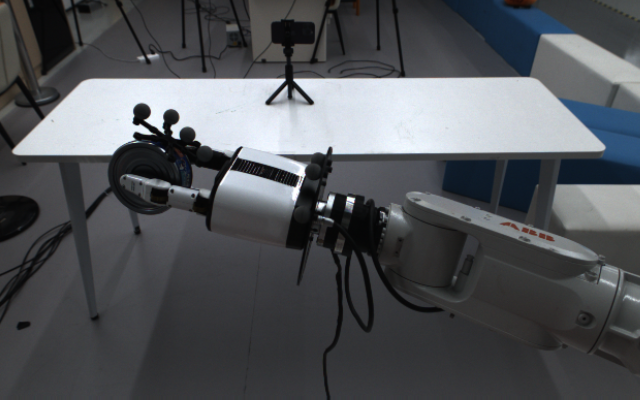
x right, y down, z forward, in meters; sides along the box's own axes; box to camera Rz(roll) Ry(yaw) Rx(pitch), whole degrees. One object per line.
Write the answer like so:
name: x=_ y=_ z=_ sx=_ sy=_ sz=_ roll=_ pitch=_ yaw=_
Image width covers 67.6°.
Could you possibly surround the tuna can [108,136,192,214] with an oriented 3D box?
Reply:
tuna can: x=-0.188 y=-0.027 z=0.540 sx=0.085 sy=0.085 sz=0.034 roll=6 pitch=19 yaw=6
